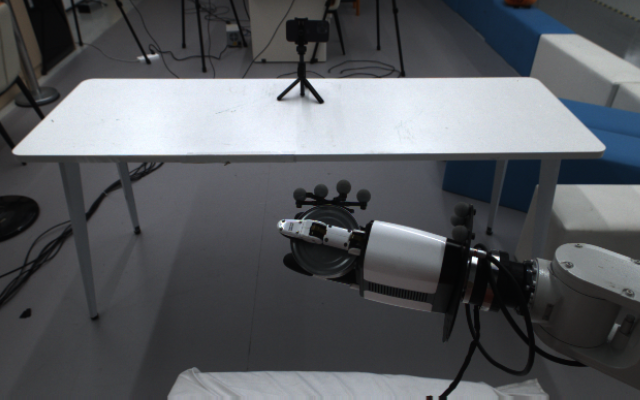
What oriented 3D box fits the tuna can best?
[{"bbox_3d":[0.012,0.055,0.579,0.085,0.034,0.085,-3,73,10],"label":"tuna can"}]
